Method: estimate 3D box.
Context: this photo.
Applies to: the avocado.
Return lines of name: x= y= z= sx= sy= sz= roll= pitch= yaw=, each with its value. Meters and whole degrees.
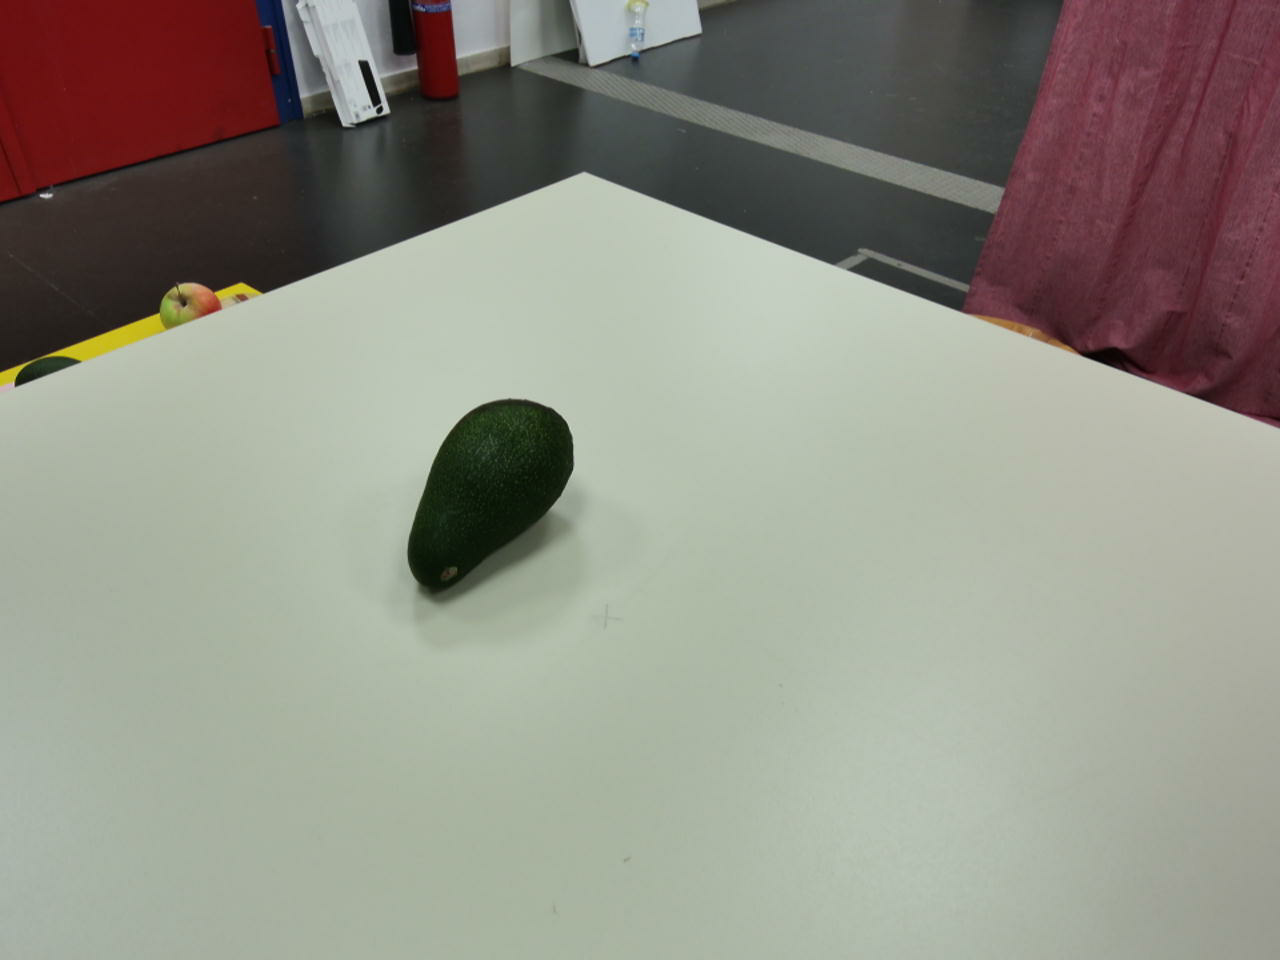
avocado: x=-0.091 y=-0.001 z=0.567 sx=0.123 sy=0.076 sz=0.074 roll=-28 pitch=46 yaw=-33
